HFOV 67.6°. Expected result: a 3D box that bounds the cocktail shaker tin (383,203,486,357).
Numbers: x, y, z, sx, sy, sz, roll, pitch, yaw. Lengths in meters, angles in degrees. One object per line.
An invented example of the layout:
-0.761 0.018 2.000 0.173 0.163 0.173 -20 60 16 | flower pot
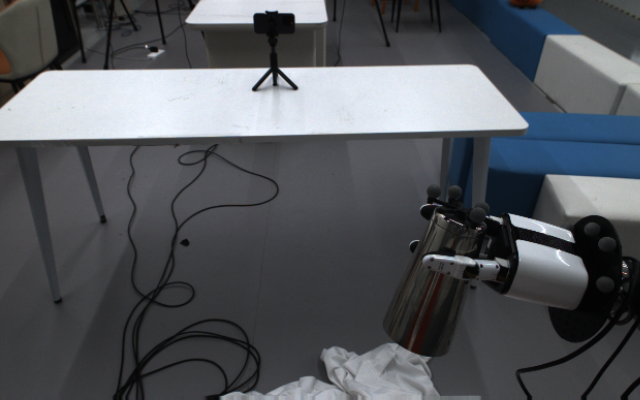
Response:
0.150 0.095 0.613 0.093 0.170 0.093 14 18 -5 | cocktail shaker tin
